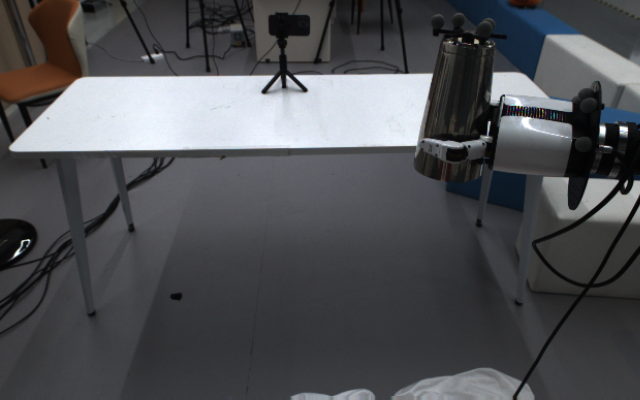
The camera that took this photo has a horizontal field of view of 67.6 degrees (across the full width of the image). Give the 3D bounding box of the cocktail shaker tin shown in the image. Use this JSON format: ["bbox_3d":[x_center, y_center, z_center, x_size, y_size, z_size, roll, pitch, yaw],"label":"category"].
[{"bbox_3d":[0.180,-0.119,0.632,0.093,0.170,0.093,1,28,-1],"label":"cocktail shaker tin"}]
